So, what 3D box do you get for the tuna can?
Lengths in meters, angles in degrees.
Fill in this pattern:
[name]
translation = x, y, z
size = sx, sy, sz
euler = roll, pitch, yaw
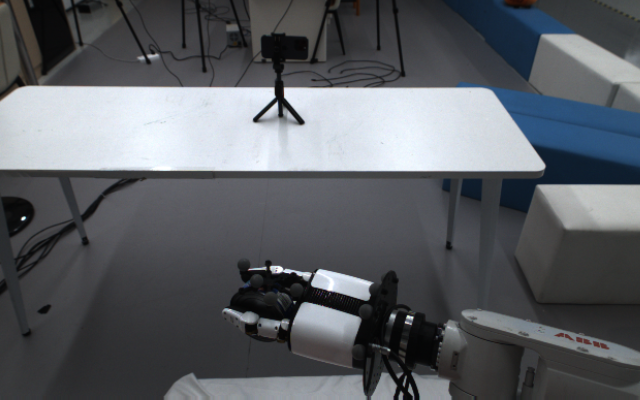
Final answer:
[tuna can]
translation = -0.076, 0.148, 0.661
size = 0.085, 0.085, 0.034
euler = 16, 29, 19
